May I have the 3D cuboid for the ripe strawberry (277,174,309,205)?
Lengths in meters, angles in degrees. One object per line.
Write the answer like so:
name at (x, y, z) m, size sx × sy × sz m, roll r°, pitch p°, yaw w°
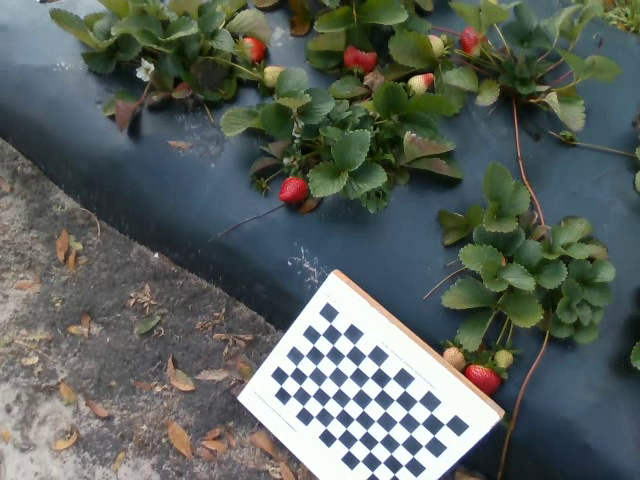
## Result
ripe strawberry at (-0.048, -0.078, 0.868) m, size 0.050 × 0.049 × 0.053 m, roll 33°, pitch 40°, yaw 11°
